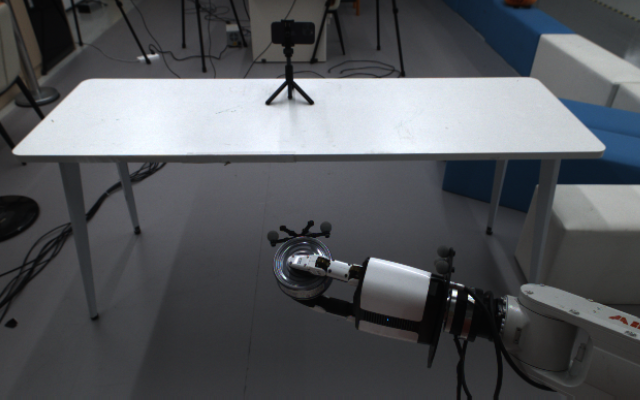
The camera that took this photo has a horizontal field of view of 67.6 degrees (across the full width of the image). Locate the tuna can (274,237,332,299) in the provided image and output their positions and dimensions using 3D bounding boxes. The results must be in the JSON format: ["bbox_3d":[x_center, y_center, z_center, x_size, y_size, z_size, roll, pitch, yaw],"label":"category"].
[{"bbox_3d":[-0.019,0.102,0.682,0.085,0.034,0.085,-3,59,5],"label":"tuna can"}]
